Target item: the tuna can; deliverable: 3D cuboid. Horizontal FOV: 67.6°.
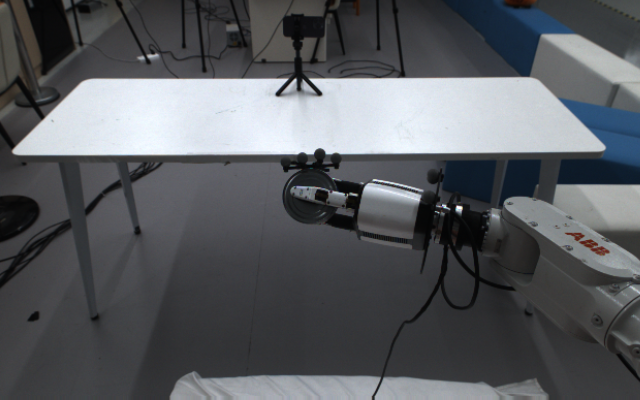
[{"bbox_3d":[-0.011,0.000,0.744,0.085,0.085,0.034,10,-6,11],"label":"tuna can"}]
